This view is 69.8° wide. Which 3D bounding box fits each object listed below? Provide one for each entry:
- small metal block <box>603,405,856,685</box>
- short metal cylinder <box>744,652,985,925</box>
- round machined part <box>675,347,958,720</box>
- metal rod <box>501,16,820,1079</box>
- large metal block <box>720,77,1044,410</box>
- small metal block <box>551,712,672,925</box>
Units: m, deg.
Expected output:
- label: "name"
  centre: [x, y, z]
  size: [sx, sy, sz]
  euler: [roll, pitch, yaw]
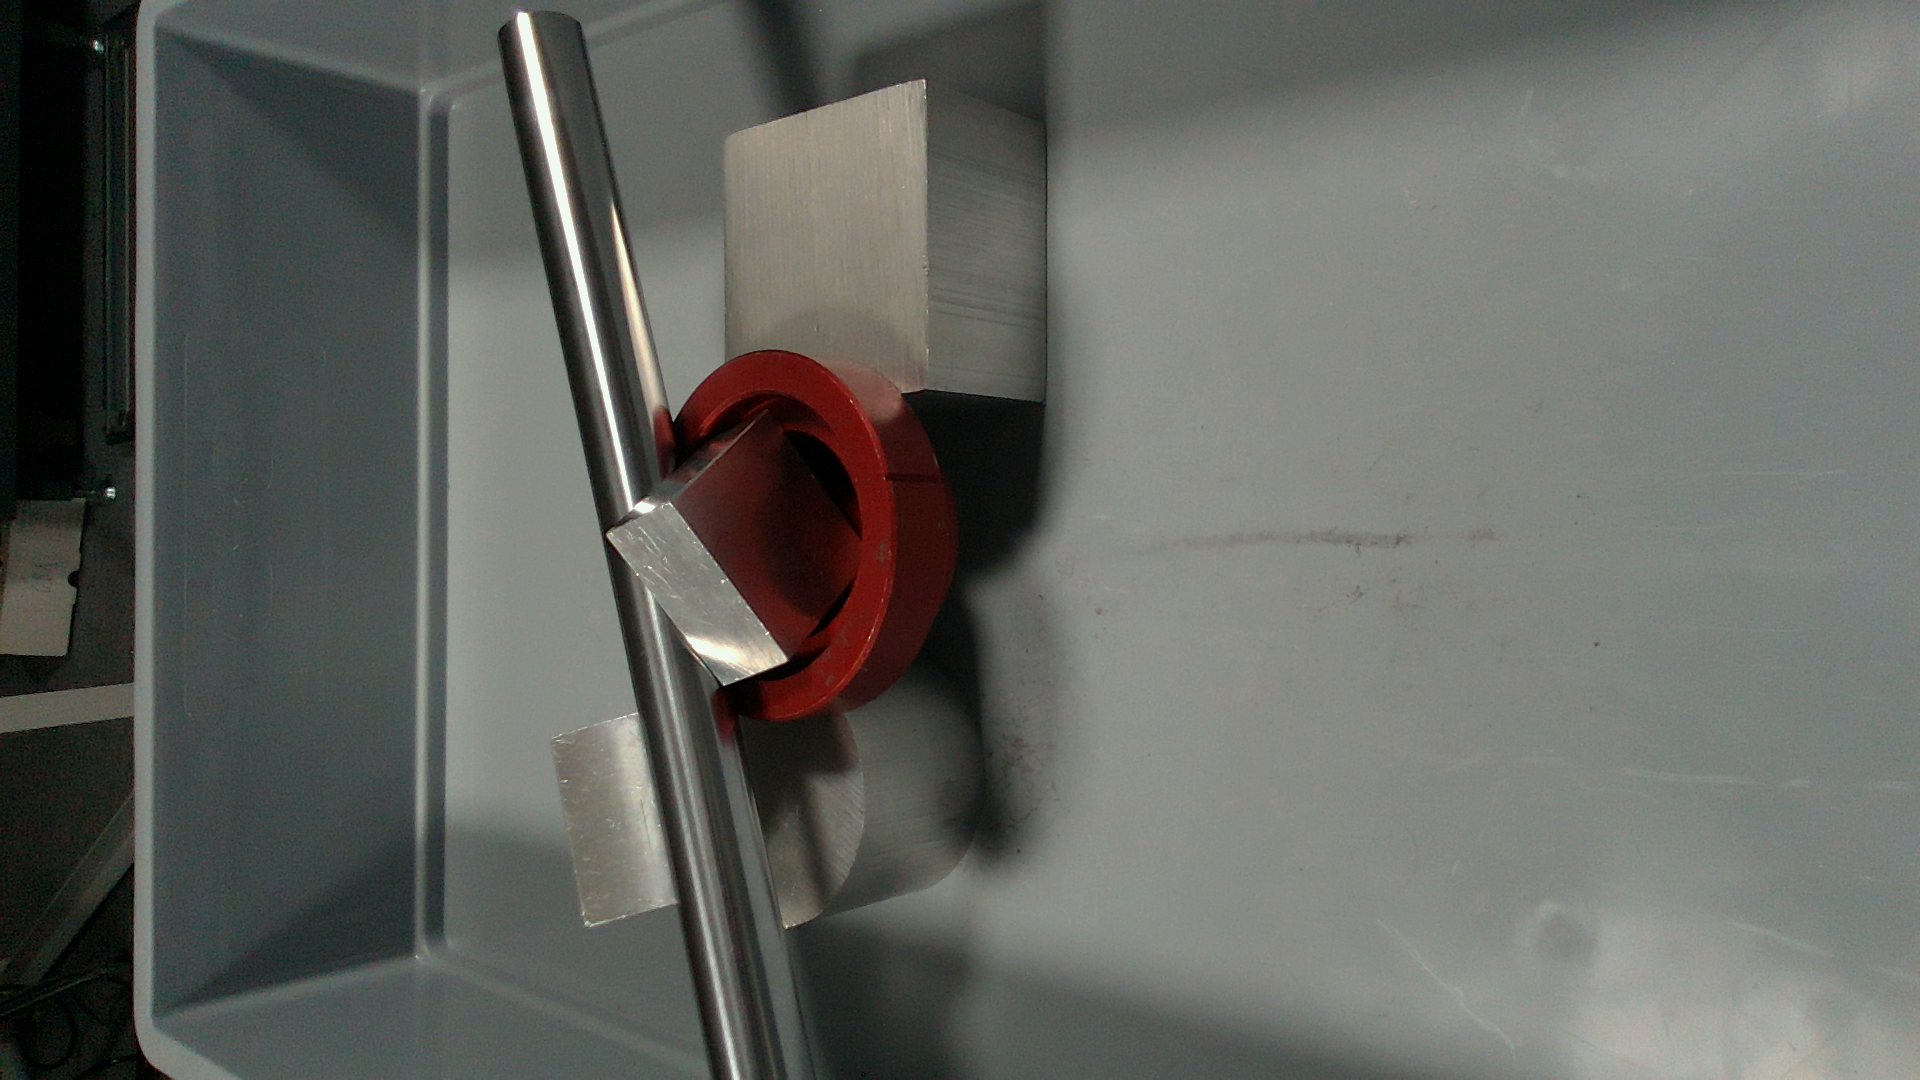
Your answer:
- label: "small metal block"
  centre: [-0.057, 0.001, 0.362]
  size: [0.025, 0.050, 0.050]
  euler: [-23, 110, 35]
- label: "short metal cylinder"
  centre: [-0.039, 0.069, 0.411]
  size: [0.080, 0.050, 0.080]
  euler: [0, 90, 40]
- label: "round machined part"
  centre: [-0.039, -0.002, 0.377]
  size: [0.098, 0.042, 0.098]
  euler: [0, 90, 40]
- label: "metal rod"
  centre: [-0.085, -0.004, 0.373]
  size: [0.025, 0.025, 0.300]
  euler: [-24, 75, 38]
- label: "large metal block"
  centre: [-0.023, -0.078, 0.395]
  size: [0.080, 0.050, 0.080]
  euler: [0, 90, 40]
- label: "small metal block"
  centre: [-0.086, 0.077, 0.381]
  size: [0.025, 0.050, 0.050]
  euler: [-16, 77, 5]
